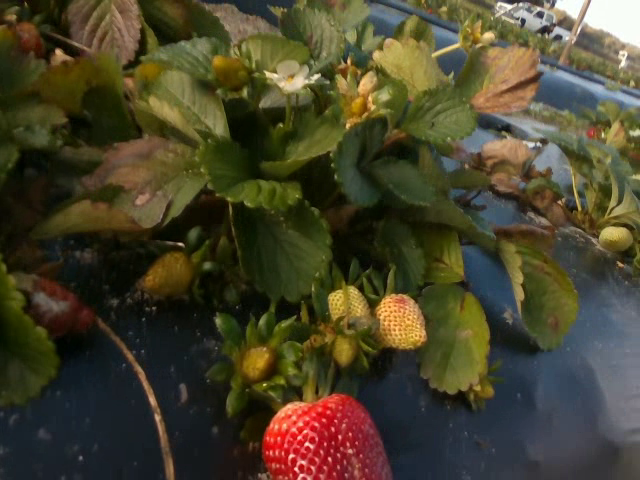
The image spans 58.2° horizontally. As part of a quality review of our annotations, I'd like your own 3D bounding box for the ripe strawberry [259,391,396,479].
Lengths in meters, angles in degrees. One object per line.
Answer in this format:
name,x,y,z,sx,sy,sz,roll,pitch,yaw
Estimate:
ripe strawberry,0.007,0.094,0.234,0.052,0.045,0.068,6,26,-32
